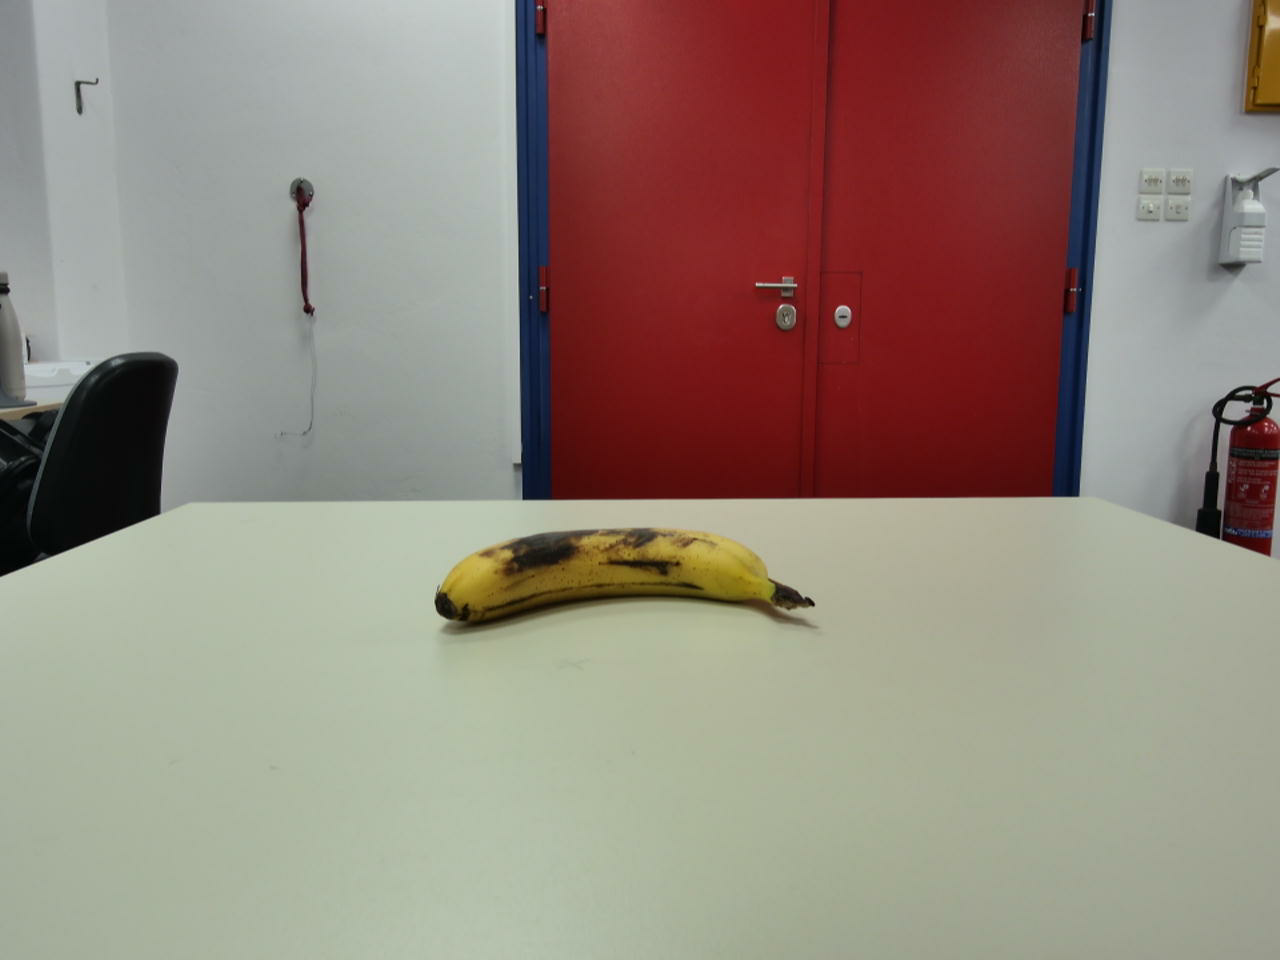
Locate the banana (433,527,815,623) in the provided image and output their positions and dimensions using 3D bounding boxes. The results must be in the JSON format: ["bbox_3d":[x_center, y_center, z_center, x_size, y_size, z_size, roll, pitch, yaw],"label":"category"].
[{"bbox_3d":[-0.011,0.049,0.533,0.187,0.039,0.094,0,6,-3],"label":"banana"}]
